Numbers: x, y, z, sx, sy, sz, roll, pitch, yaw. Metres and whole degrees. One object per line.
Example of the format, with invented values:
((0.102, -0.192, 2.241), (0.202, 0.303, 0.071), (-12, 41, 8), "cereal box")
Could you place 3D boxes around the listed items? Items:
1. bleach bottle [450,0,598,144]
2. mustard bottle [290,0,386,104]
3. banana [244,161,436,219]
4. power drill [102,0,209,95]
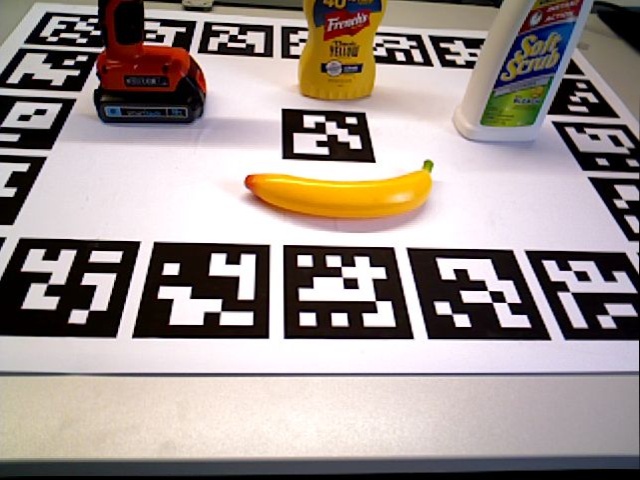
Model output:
((0.220, -0.223, 0.560), (0.102, 0.257, 0.066), (7, 46, -1), "bleach bottle")
((0.023, -0.250, 0.608), (0.095, 0.196, 0.058), (-3, 47, -13), "mustard bottle")
((0.028, -0.051, 0.512), (0.196, 0.040, 0.073), (-5, 49, -7), "banana")
((-0.157, -0.242, 0.535), (0.183, 0.191, 0.056), (-5, 47, -7), "power drill")
